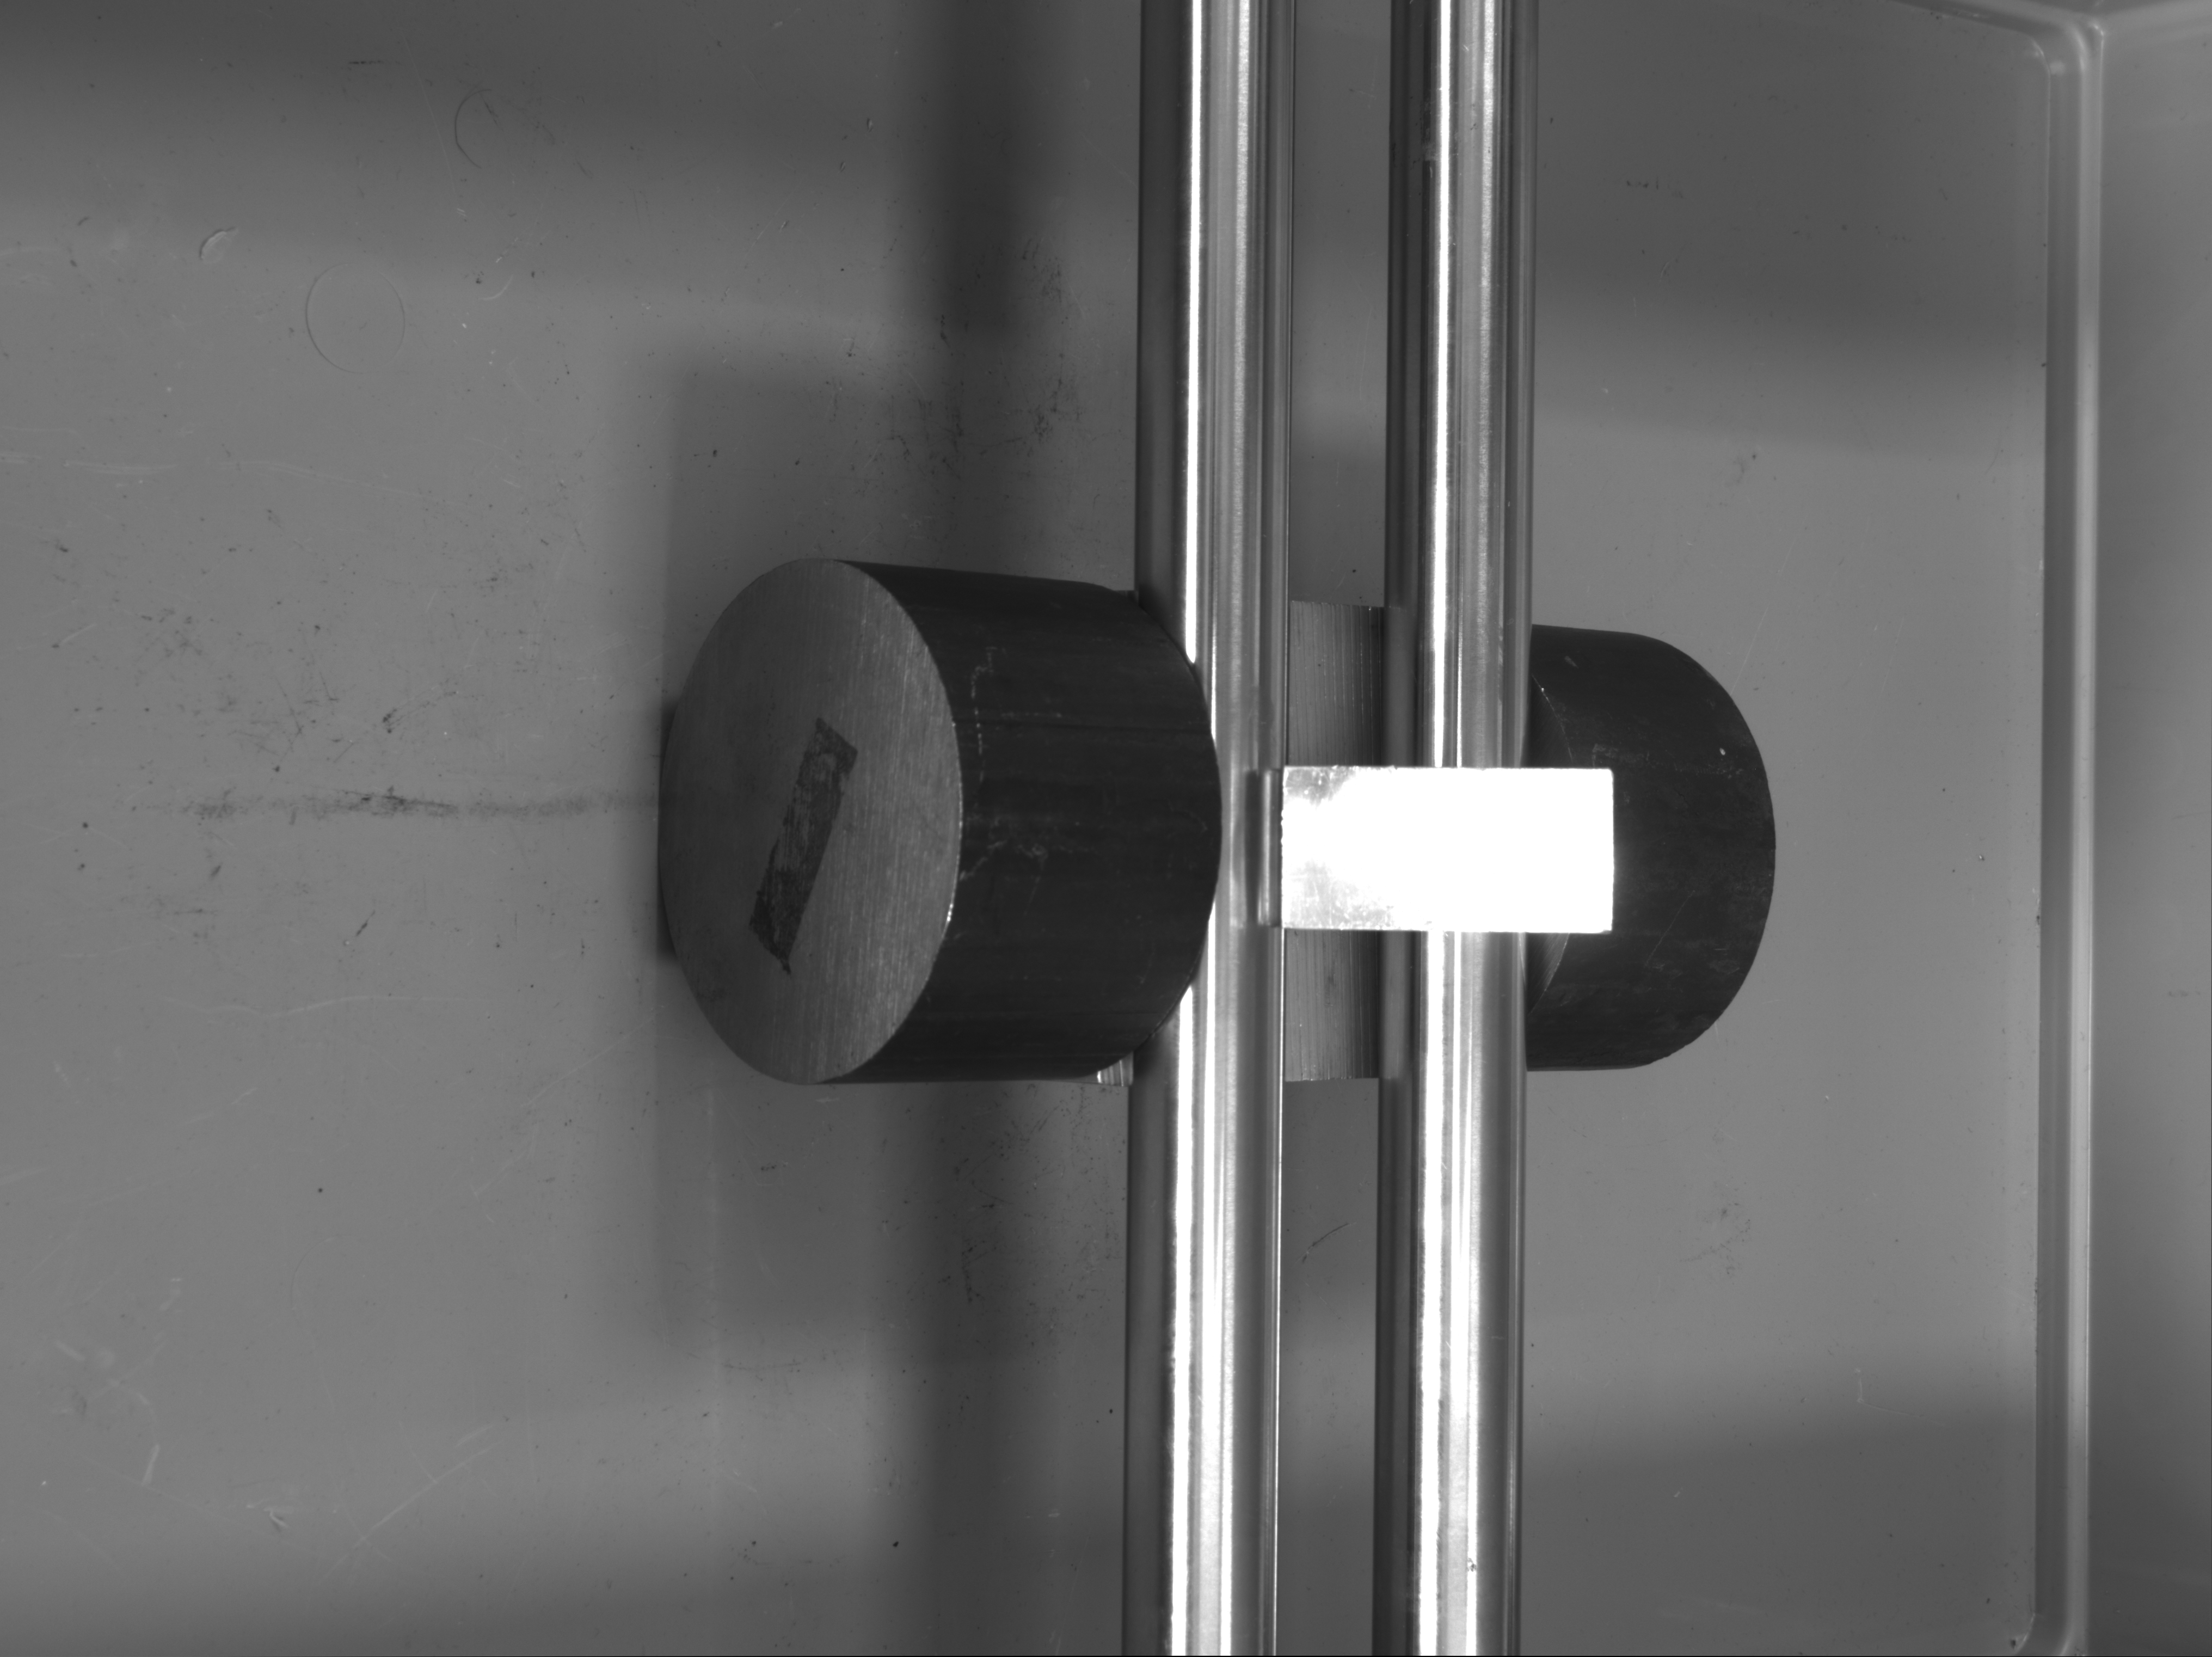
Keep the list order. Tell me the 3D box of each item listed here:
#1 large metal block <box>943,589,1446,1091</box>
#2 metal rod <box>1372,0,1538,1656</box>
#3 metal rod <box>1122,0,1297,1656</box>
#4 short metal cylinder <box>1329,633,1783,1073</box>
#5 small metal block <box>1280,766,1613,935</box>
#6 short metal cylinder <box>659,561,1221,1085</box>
[{"bbox_3d":[0.014,0.002,0.630,0.080,0.050,0.080,1,89,-40],"label":"large metal block"},{"bbox_3d":[0.059,0.004,0.619,0.025,0.025,0.300,1,89,-40],"label":"metal rod"},{"bbox_3d":[0.016,0.006,0.584,0.025,0.025,0.300,1,89,-40],"label":"metal rod"},{"bbox_3d":[0.074,0.004,0.660,0.050,0.080,0.080,1,89,-39],"label":"short metal cylinder"},{"bbox_3d":[0.054,0.004,0.582,0.050,0.050,0.025,1,90,5],"label":"small metal block"},{"bbox_3d":[-0.027,0.000,0.577,0.050,0.080,0.080,2,89,-40],"label":"short metal cylinder"}]
